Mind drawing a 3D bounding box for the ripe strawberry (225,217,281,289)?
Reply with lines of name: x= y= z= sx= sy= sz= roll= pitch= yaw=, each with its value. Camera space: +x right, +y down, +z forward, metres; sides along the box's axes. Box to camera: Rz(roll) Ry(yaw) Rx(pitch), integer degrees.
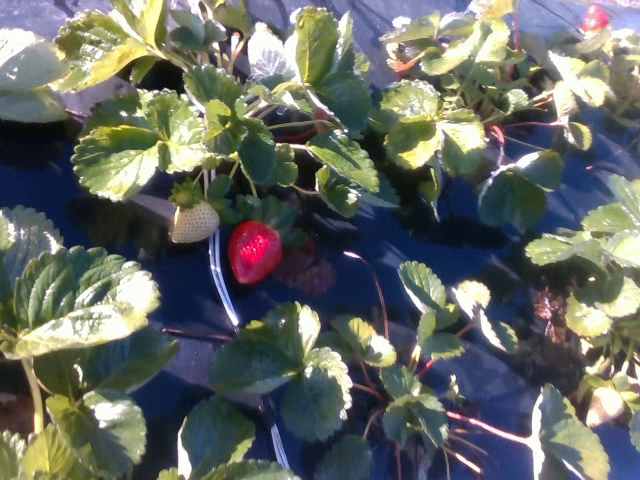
ripe strawberry: x=-0.051 y=0.010 z=0.516 sx=0.040 sy=0.063 sz=0.080 roll=-18 pitch=33 yaw=28
